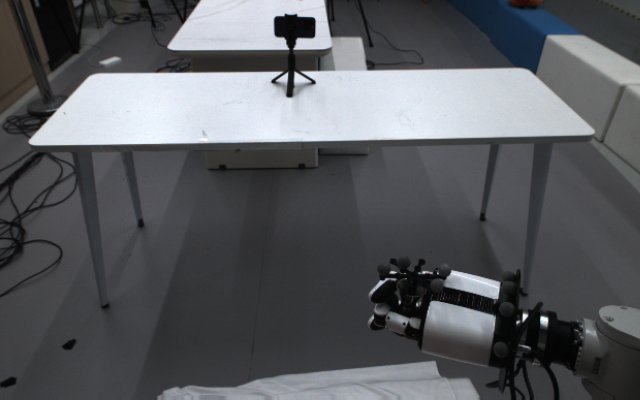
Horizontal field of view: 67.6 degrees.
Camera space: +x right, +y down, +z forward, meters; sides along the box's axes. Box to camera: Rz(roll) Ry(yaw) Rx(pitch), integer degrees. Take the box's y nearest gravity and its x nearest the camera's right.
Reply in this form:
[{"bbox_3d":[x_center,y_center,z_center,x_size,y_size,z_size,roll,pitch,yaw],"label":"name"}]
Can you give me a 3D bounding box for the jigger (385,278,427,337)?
[{"bbox_3d":[0.124,0.145,0.660,0.043,0.071,0.043,3,24,-1],"label":"jigger"}]
